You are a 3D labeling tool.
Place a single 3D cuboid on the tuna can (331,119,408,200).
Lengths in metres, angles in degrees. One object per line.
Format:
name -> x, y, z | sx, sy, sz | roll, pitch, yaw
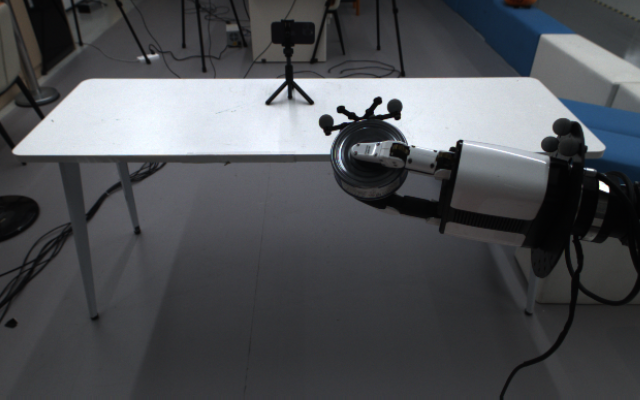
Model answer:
tuna can -> 0.057, -0.047, 0.532 | 0.085, 0.034, 0.085 | -4, 68, 9
